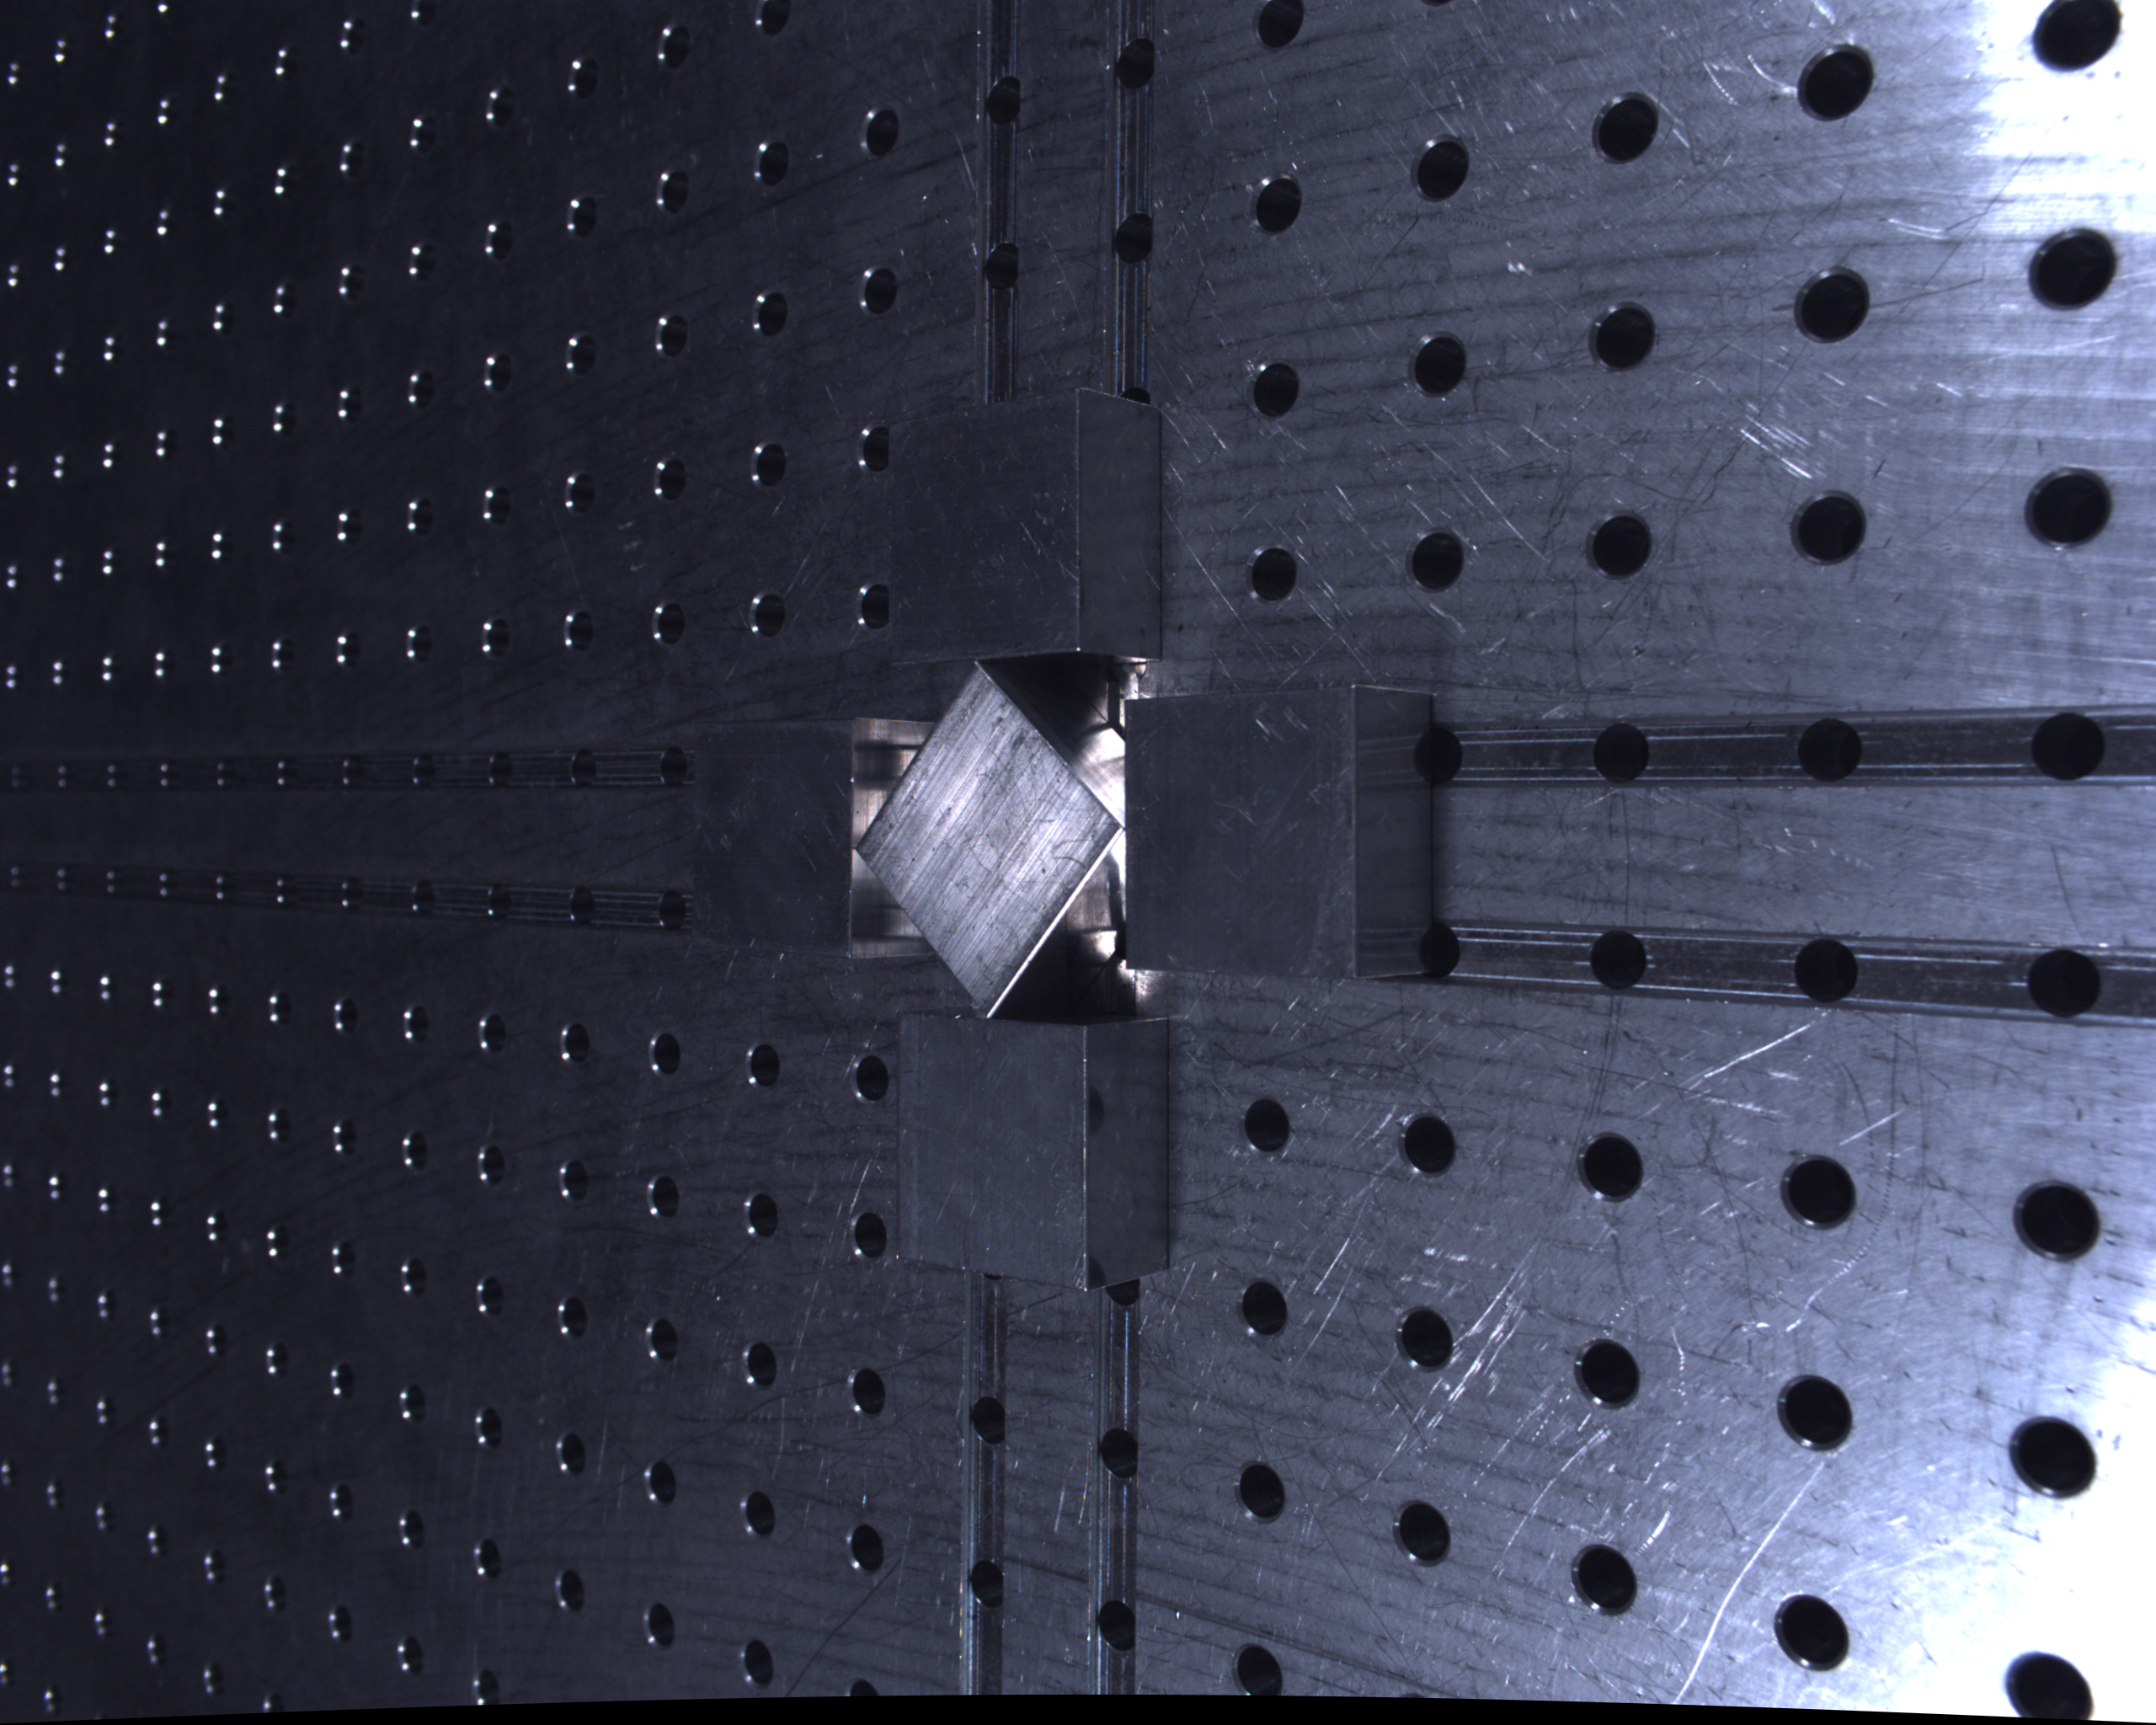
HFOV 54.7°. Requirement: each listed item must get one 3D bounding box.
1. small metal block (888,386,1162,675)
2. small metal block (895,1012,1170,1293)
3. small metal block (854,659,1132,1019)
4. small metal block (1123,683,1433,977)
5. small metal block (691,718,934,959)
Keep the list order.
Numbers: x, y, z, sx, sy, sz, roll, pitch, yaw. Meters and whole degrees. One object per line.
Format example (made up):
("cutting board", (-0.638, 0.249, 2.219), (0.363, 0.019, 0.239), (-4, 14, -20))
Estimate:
("small metal block", (-0.011, -0.064, 0.416), (0.050, 0.025, 0.050), (-1, 90, 39))
("small metal block", (-0.009, 0.055, 0.415), (0.050, 0.025, 0.050), (1, 90, 39))
("small metal block", (-0.011, -0.005, 0.416), (0.050, 0.025, 0.050), (50, 119, 28))
("small metal block", (0.036, -0.005, 0.378), (0.050, 0.025, 0.050), (0, 90, 39))
("small metal block", (-0.058, -0.006, 0.454), (0.050, 0.025, 0.050), (2, 91, 39))
